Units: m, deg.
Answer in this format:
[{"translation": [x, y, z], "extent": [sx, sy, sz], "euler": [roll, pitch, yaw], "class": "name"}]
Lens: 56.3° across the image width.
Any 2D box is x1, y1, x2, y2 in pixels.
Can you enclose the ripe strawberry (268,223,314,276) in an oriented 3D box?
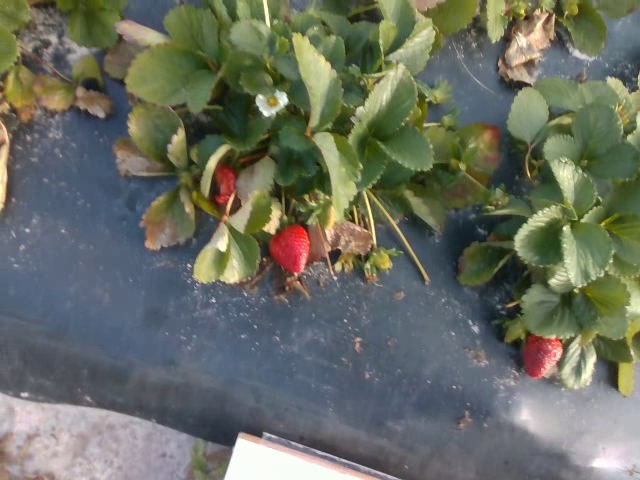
[{"translation": [-0.019, 0.008, 0.364], "extent": [0.031, 0.030, 0.026], "euler": [-17, -19, -4], "class": "ripe strawberry"}]
